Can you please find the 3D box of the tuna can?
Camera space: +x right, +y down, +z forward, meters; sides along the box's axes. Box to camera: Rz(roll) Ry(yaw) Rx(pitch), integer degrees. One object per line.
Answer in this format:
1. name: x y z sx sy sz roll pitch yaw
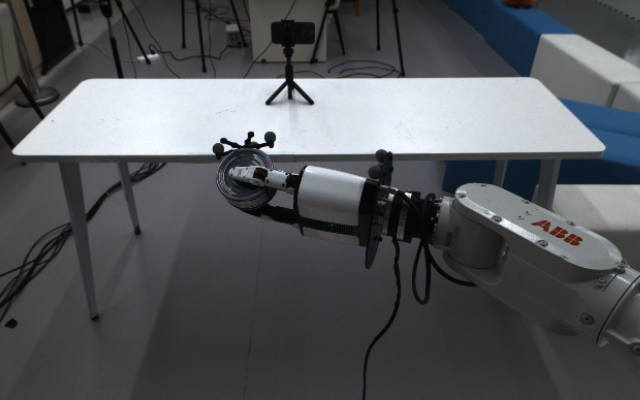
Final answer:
1. tuna can: -0.100 -0.025 0.687 0.085 0.034 0.085 -4 68 9
